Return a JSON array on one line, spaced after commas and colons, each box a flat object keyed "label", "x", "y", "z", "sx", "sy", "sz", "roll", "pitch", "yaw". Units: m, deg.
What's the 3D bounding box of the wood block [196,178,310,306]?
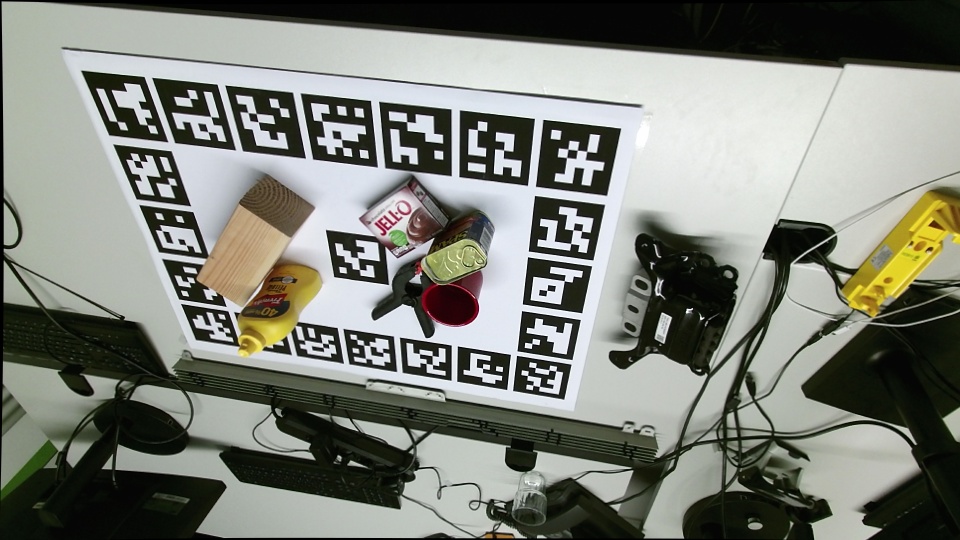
[{"label": "wood block", "x": -0.380, "y": -0.039, "z": 0.884, "sx": 0.090, "sy": 0.090, "sz": 0.206, "roll": 37, "pitch": 126, "yaw": -17}]

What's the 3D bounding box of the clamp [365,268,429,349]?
[{"label": "clamp", "x": -0.127, "y": 0.062, "z": 0.937, "sx": 0.122, "sy": 0.036, "sz": 0.165, "roll": 24, "pitch": 125, "yaw": -4}]

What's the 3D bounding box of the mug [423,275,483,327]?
[{"label": "mug", "x": -0.045, "y": 0.043, "z": 0.901, "sx": 0.093, "sy": 0.081, "sz": 0.117, "roll": 26, "pitch": 125, "yaw": -7}]

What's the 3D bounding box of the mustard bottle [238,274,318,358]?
[{"label": "mustard bottle", "x": -0.353, "y": 0.082, "z": 0.896, "sx": 0.096, "sy": 0.191, "sz": 0.058, "roll": 3, "pitch": 125, "yaw": 9}]

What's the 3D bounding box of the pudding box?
[{"label": "pudding box", "x": -0.125, "y": -0.072, "z": 0.834, "sx": 0.114, "sy": 0.038, "sz": 0.090, "roll": -28, "pitch": 115, "yaw": 29}]

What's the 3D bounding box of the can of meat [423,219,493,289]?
[{"label": "can of meat", "x": -0.034, "y": -0.026, "z": 0.813, "sx": 0.102, "sy": 0.083, "sz": 0.058, "roll": -19, "pitch": 118, "yaw": 23}]
